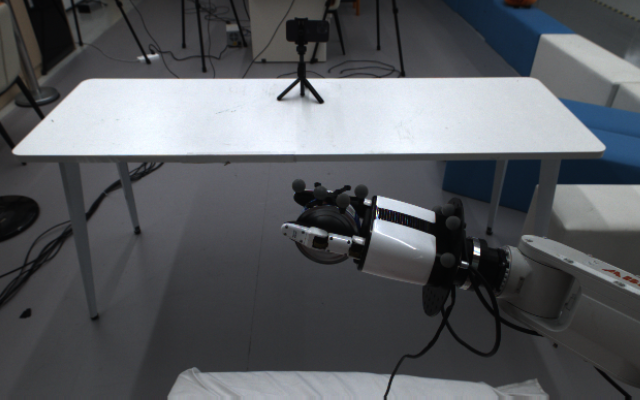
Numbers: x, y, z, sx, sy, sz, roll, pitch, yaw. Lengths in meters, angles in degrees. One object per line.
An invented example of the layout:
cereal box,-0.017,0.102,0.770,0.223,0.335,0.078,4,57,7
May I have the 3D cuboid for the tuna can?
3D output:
tuna can,0.012,0.040,0.634,0.085,0.085,0.034,6,22,6
